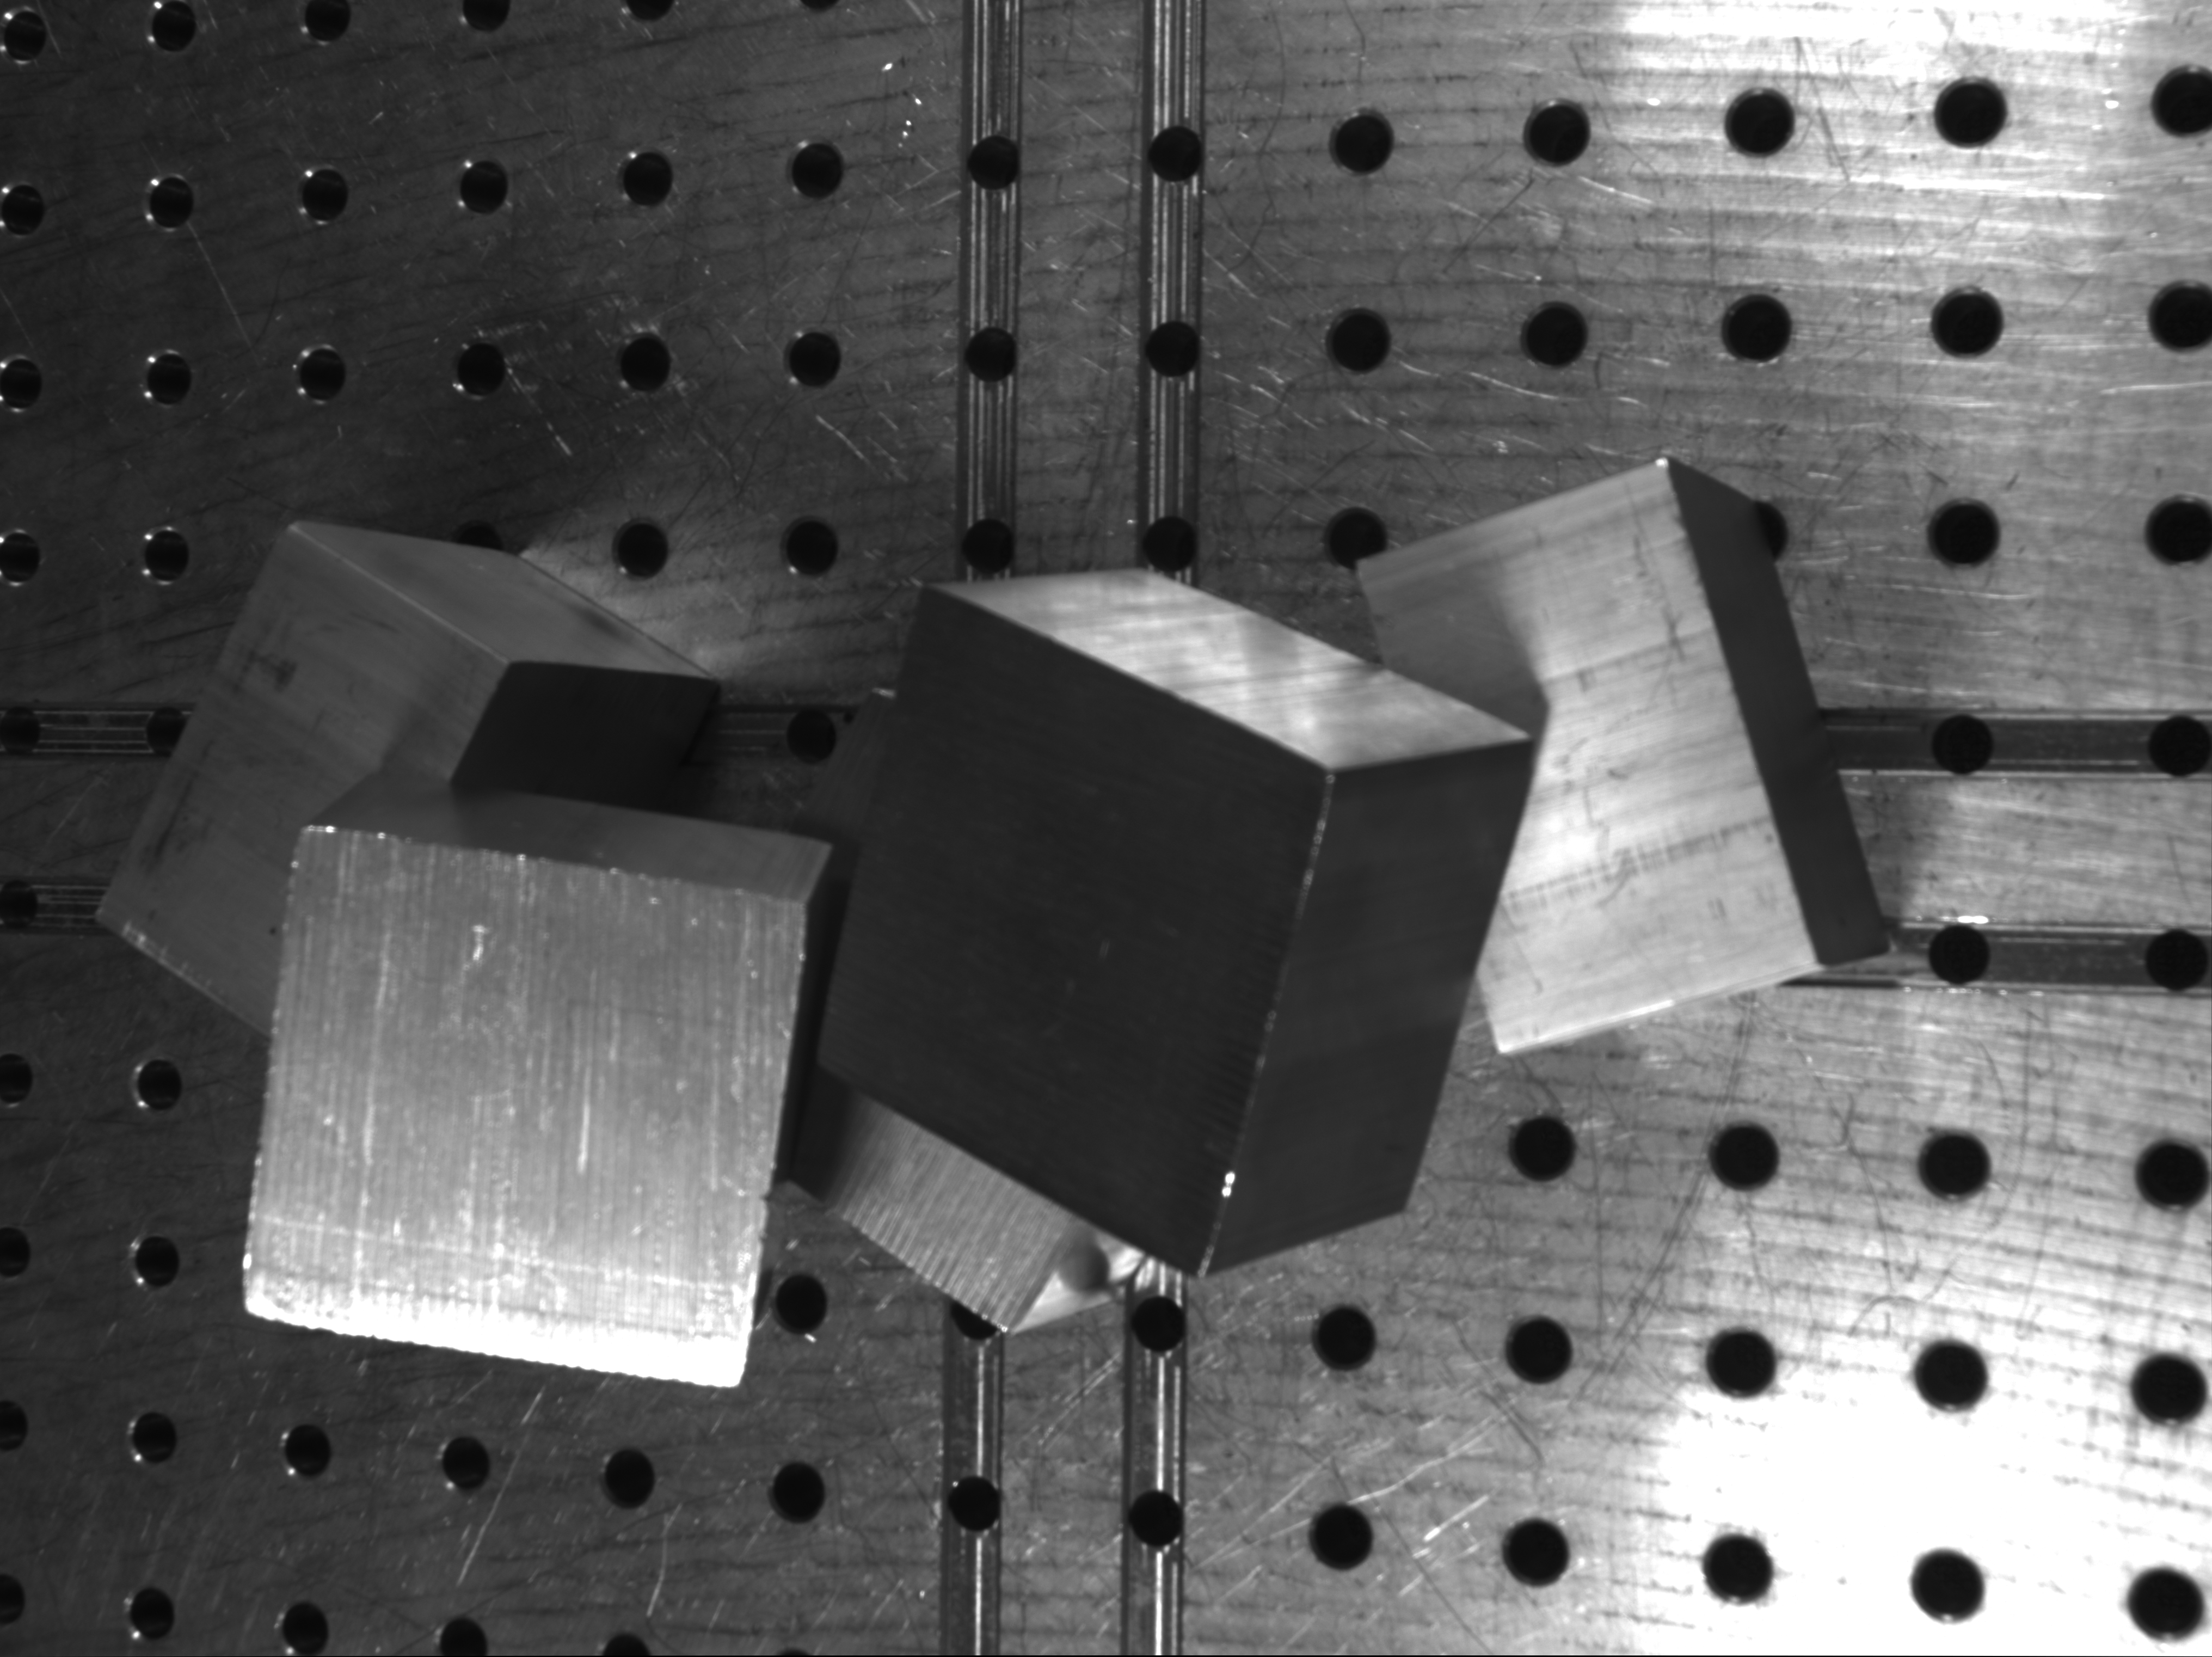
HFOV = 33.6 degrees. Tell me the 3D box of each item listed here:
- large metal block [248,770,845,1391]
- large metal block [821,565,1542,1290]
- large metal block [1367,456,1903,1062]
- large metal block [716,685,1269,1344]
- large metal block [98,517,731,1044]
[{"bbox_3d":[-0.089,0.040,0.596,0.080,0.050,0.080,9,100,-1],"label":"large metal block"},{"bbox_3d":[0.010,0.012,0.556,0.080,0.050,0.080,26,112,33],"label":"large metal block"},{"bbox_3d":[0.087,-0.010,0.587,0.050,0.080,0.080,-17,84,19],"label":"large metal block"},{"bbox_3d":[-0.017,0.031,0.639,0.080,0.050,0.080,34,101,17],"label":"large metal block"},{"bbox_3d":[-0.123,-0.006,0.661,0.050,0.080,0.080,31,100,17],"label":"large metal block"}]
